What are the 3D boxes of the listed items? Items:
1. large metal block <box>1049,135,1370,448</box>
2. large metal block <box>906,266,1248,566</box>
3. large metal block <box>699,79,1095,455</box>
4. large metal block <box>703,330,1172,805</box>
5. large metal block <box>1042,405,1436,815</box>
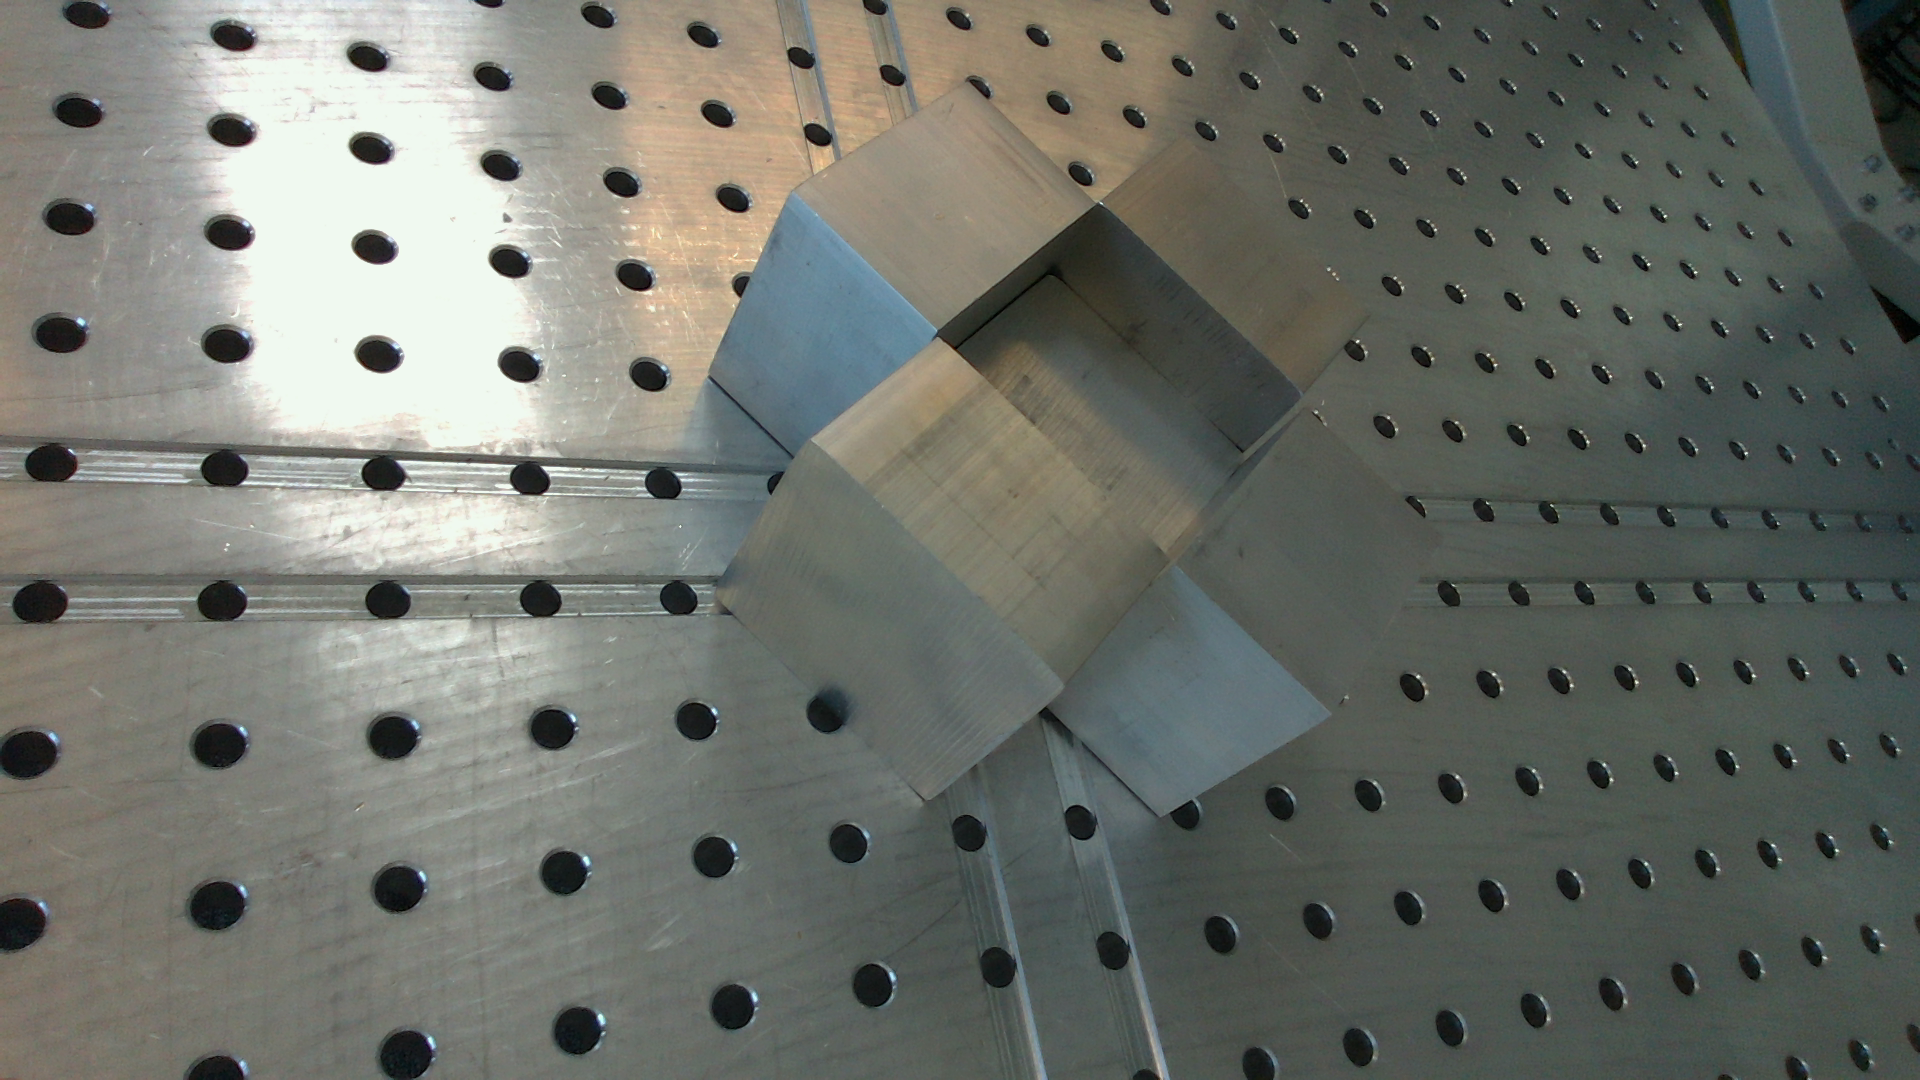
[{"bbox_3d":[0.064,-0.062,0.430,0.080,0.080,0.050,44,51,2],"label":"large metal block"},{"bbox_3d":[0.023,-0.019,0.399,0.080,0.050,0.080,43,53,3],"label":"large metal block"},{"bbox_3d":[-0.019,-0.071,0.391,0.050,0.080,0.080,43,51,2],"label":"large metal block"},{"bbox_3d":[-0.008,0.009,0.346,0.080,0.080,0.050,44,51,2],"label":"large metal block"},{"bbox_3d":[0.074,0.020,0.386,0.050,0.080,0.080,45,51,3],"label":"large metal block"}]
